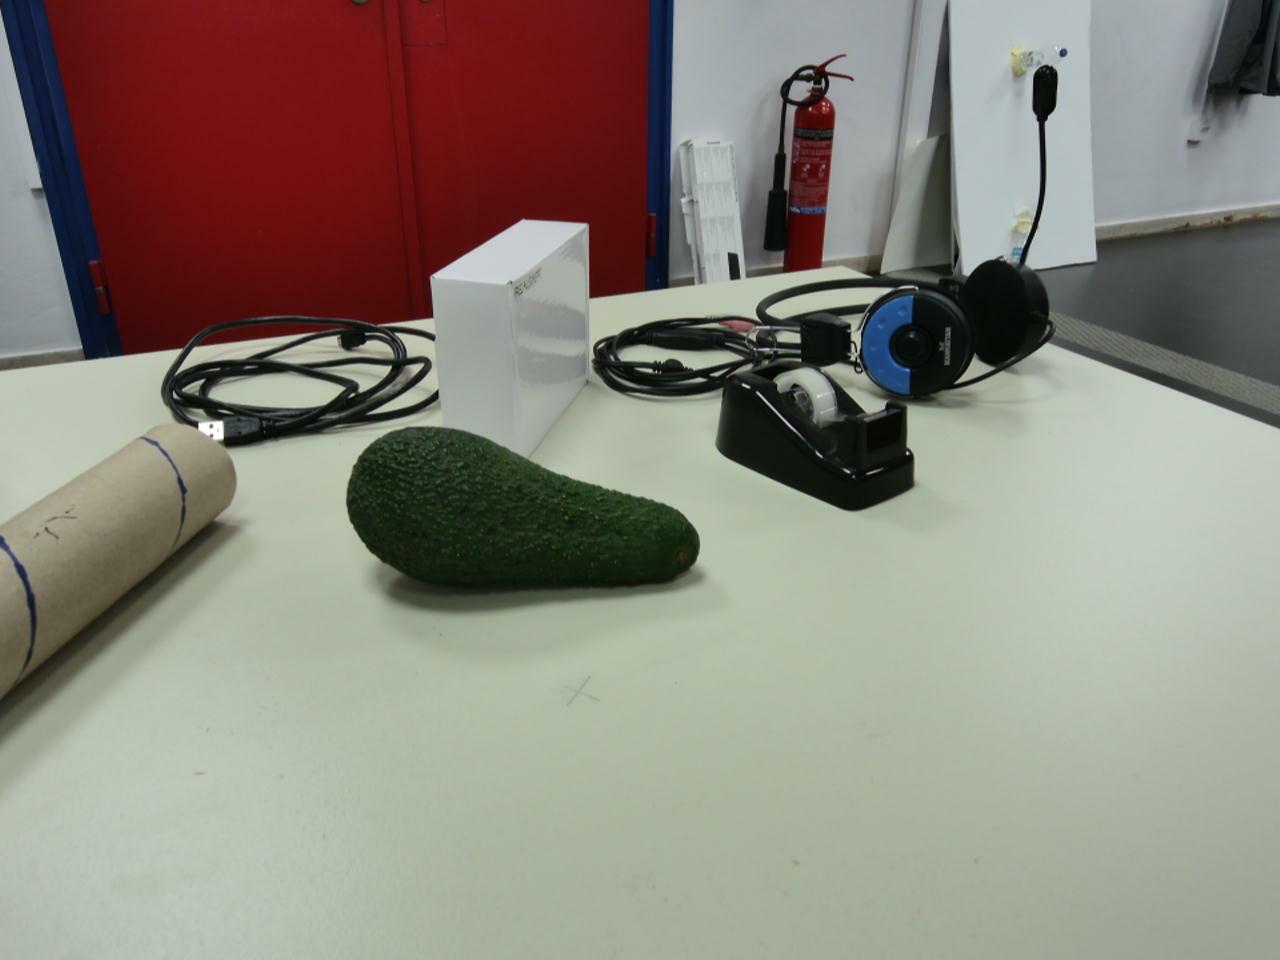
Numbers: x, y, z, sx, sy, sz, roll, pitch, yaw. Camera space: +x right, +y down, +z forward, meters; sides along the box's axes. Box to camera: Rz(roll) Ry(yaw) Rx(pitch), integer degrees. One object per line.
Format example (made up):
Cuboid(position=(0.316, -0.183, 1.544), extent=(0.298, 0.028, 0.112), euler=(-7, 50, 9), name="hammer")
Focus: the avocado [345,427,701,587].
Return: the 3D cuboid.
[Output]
Cuboid(position=(-0.048, 0.008, 0.410), extent=(0.141, 0.067, 0.063), euler=(-5, 24, -10), name="avocado")
